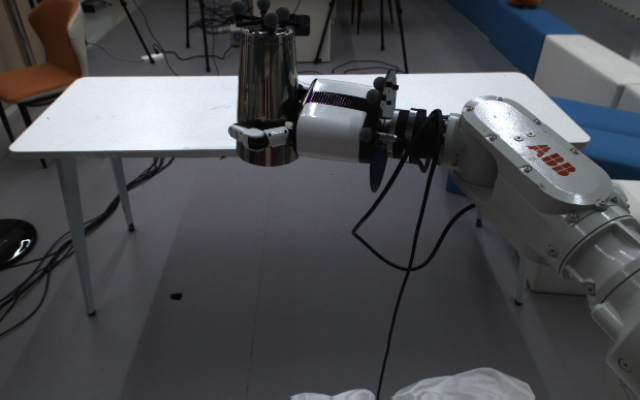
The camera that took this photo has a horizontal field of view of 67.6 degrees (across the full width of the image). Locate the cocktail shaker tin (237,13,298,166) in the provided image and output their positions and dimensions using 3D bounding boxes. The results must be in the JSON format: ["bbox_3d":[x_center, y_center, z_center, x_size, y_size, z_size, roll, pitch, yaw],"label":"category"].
[{"bbox_3d":[-0.068,-0.140,0.639,0.093,0.170,0.093,3,34,-2],"label":"cocktail shaker tin"}]
